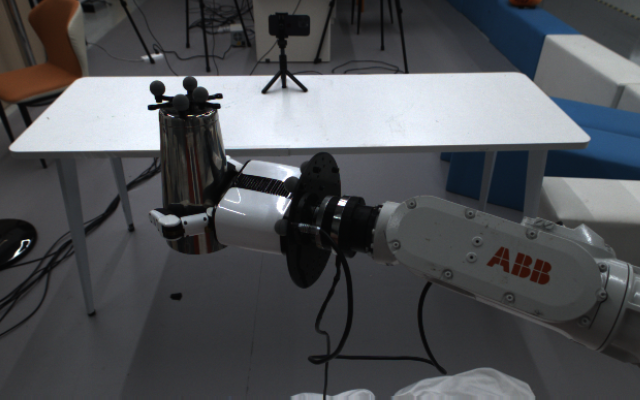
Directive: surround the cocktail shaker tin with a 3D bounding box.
[{"bbox_3d":[-0.151,-0.029,0.593,0.093,0.170,0.093,1,28,0],"label":"cocktail shaker tin"}]
